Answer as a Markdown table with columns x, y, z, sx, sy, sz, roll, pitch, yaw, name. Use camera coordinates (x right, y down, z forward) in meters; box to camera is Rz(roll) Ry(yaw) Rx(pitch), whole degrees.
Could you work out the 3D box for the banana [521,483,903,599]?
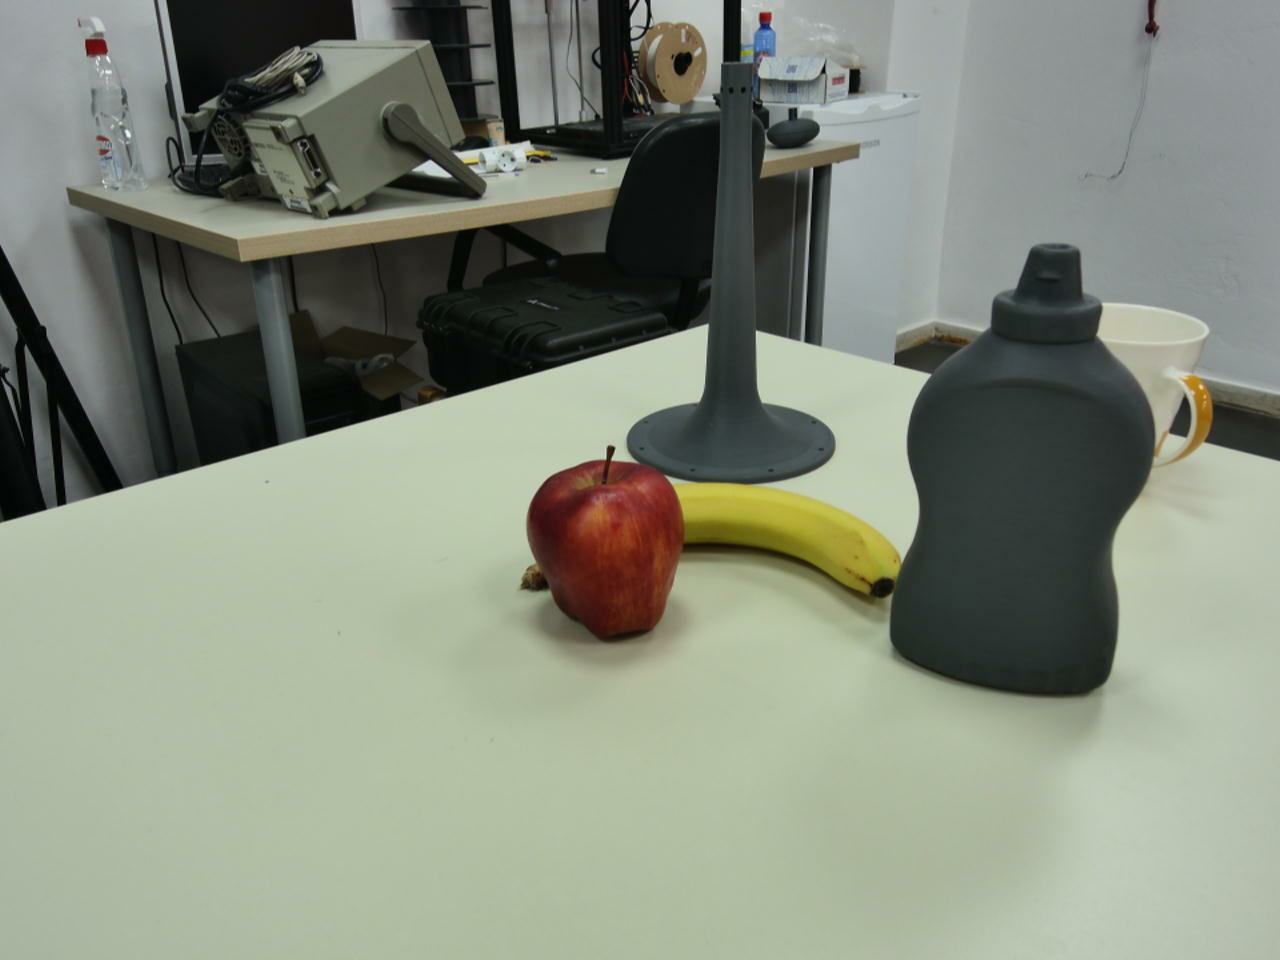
| x | y | z | sx | sy | sz | roll | pitch | yaw | name |
| --- | --- | --- | --- | --- | --- | --- | --- | --- | --- |
| 0.041 | 0.031 | 0.553 | 0.196 | 0.041 | 0.094 | 5 | 24 | 12 | banana |
